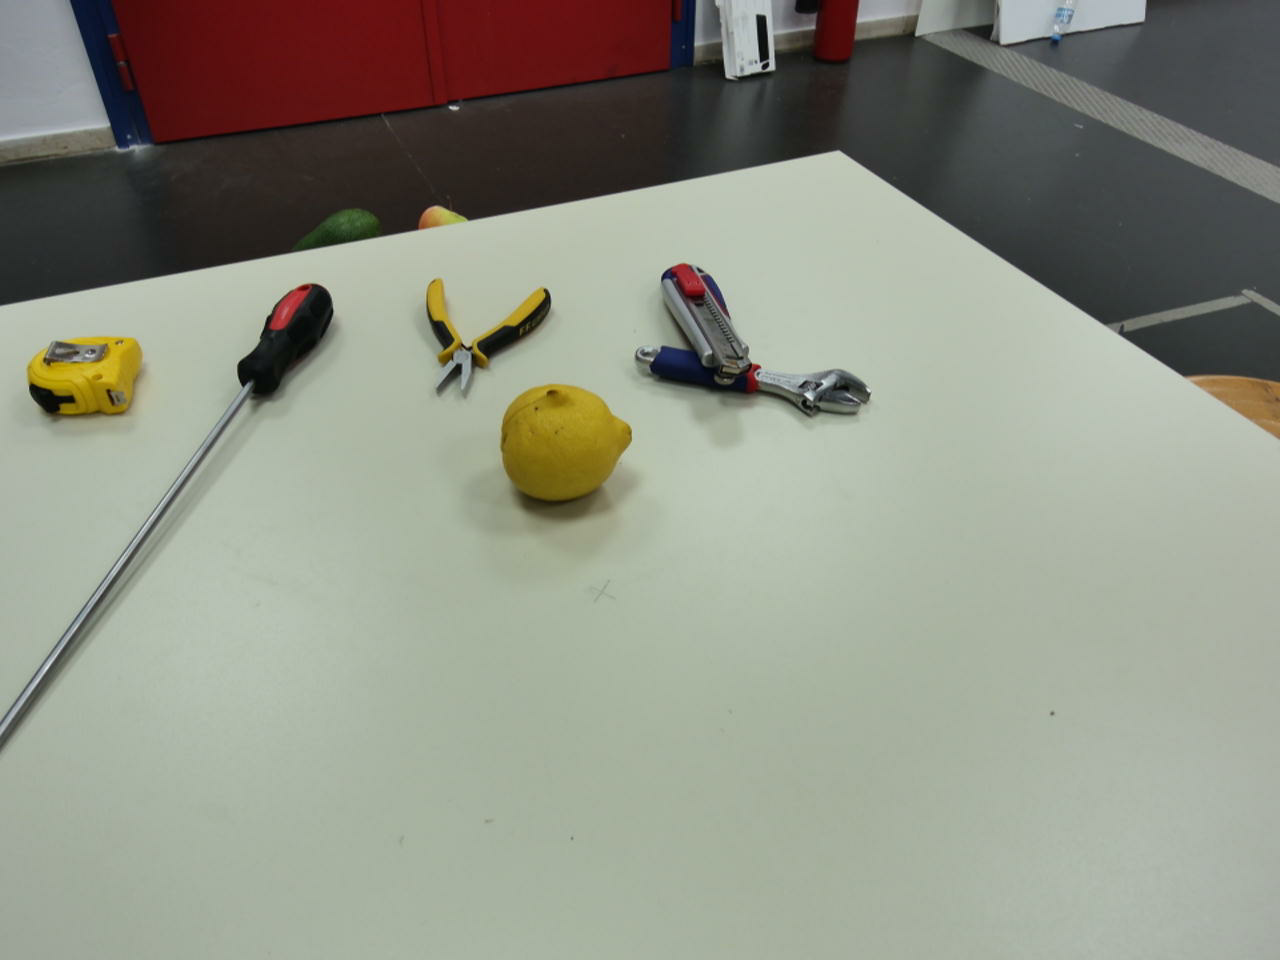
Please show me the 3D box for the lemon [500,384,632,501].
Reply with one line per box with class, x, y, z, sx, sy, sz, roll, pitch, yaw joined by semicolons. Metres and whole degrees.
lemon;-0.047;-0.024;0.582;0.071;0.071;0.070;22;43;24
